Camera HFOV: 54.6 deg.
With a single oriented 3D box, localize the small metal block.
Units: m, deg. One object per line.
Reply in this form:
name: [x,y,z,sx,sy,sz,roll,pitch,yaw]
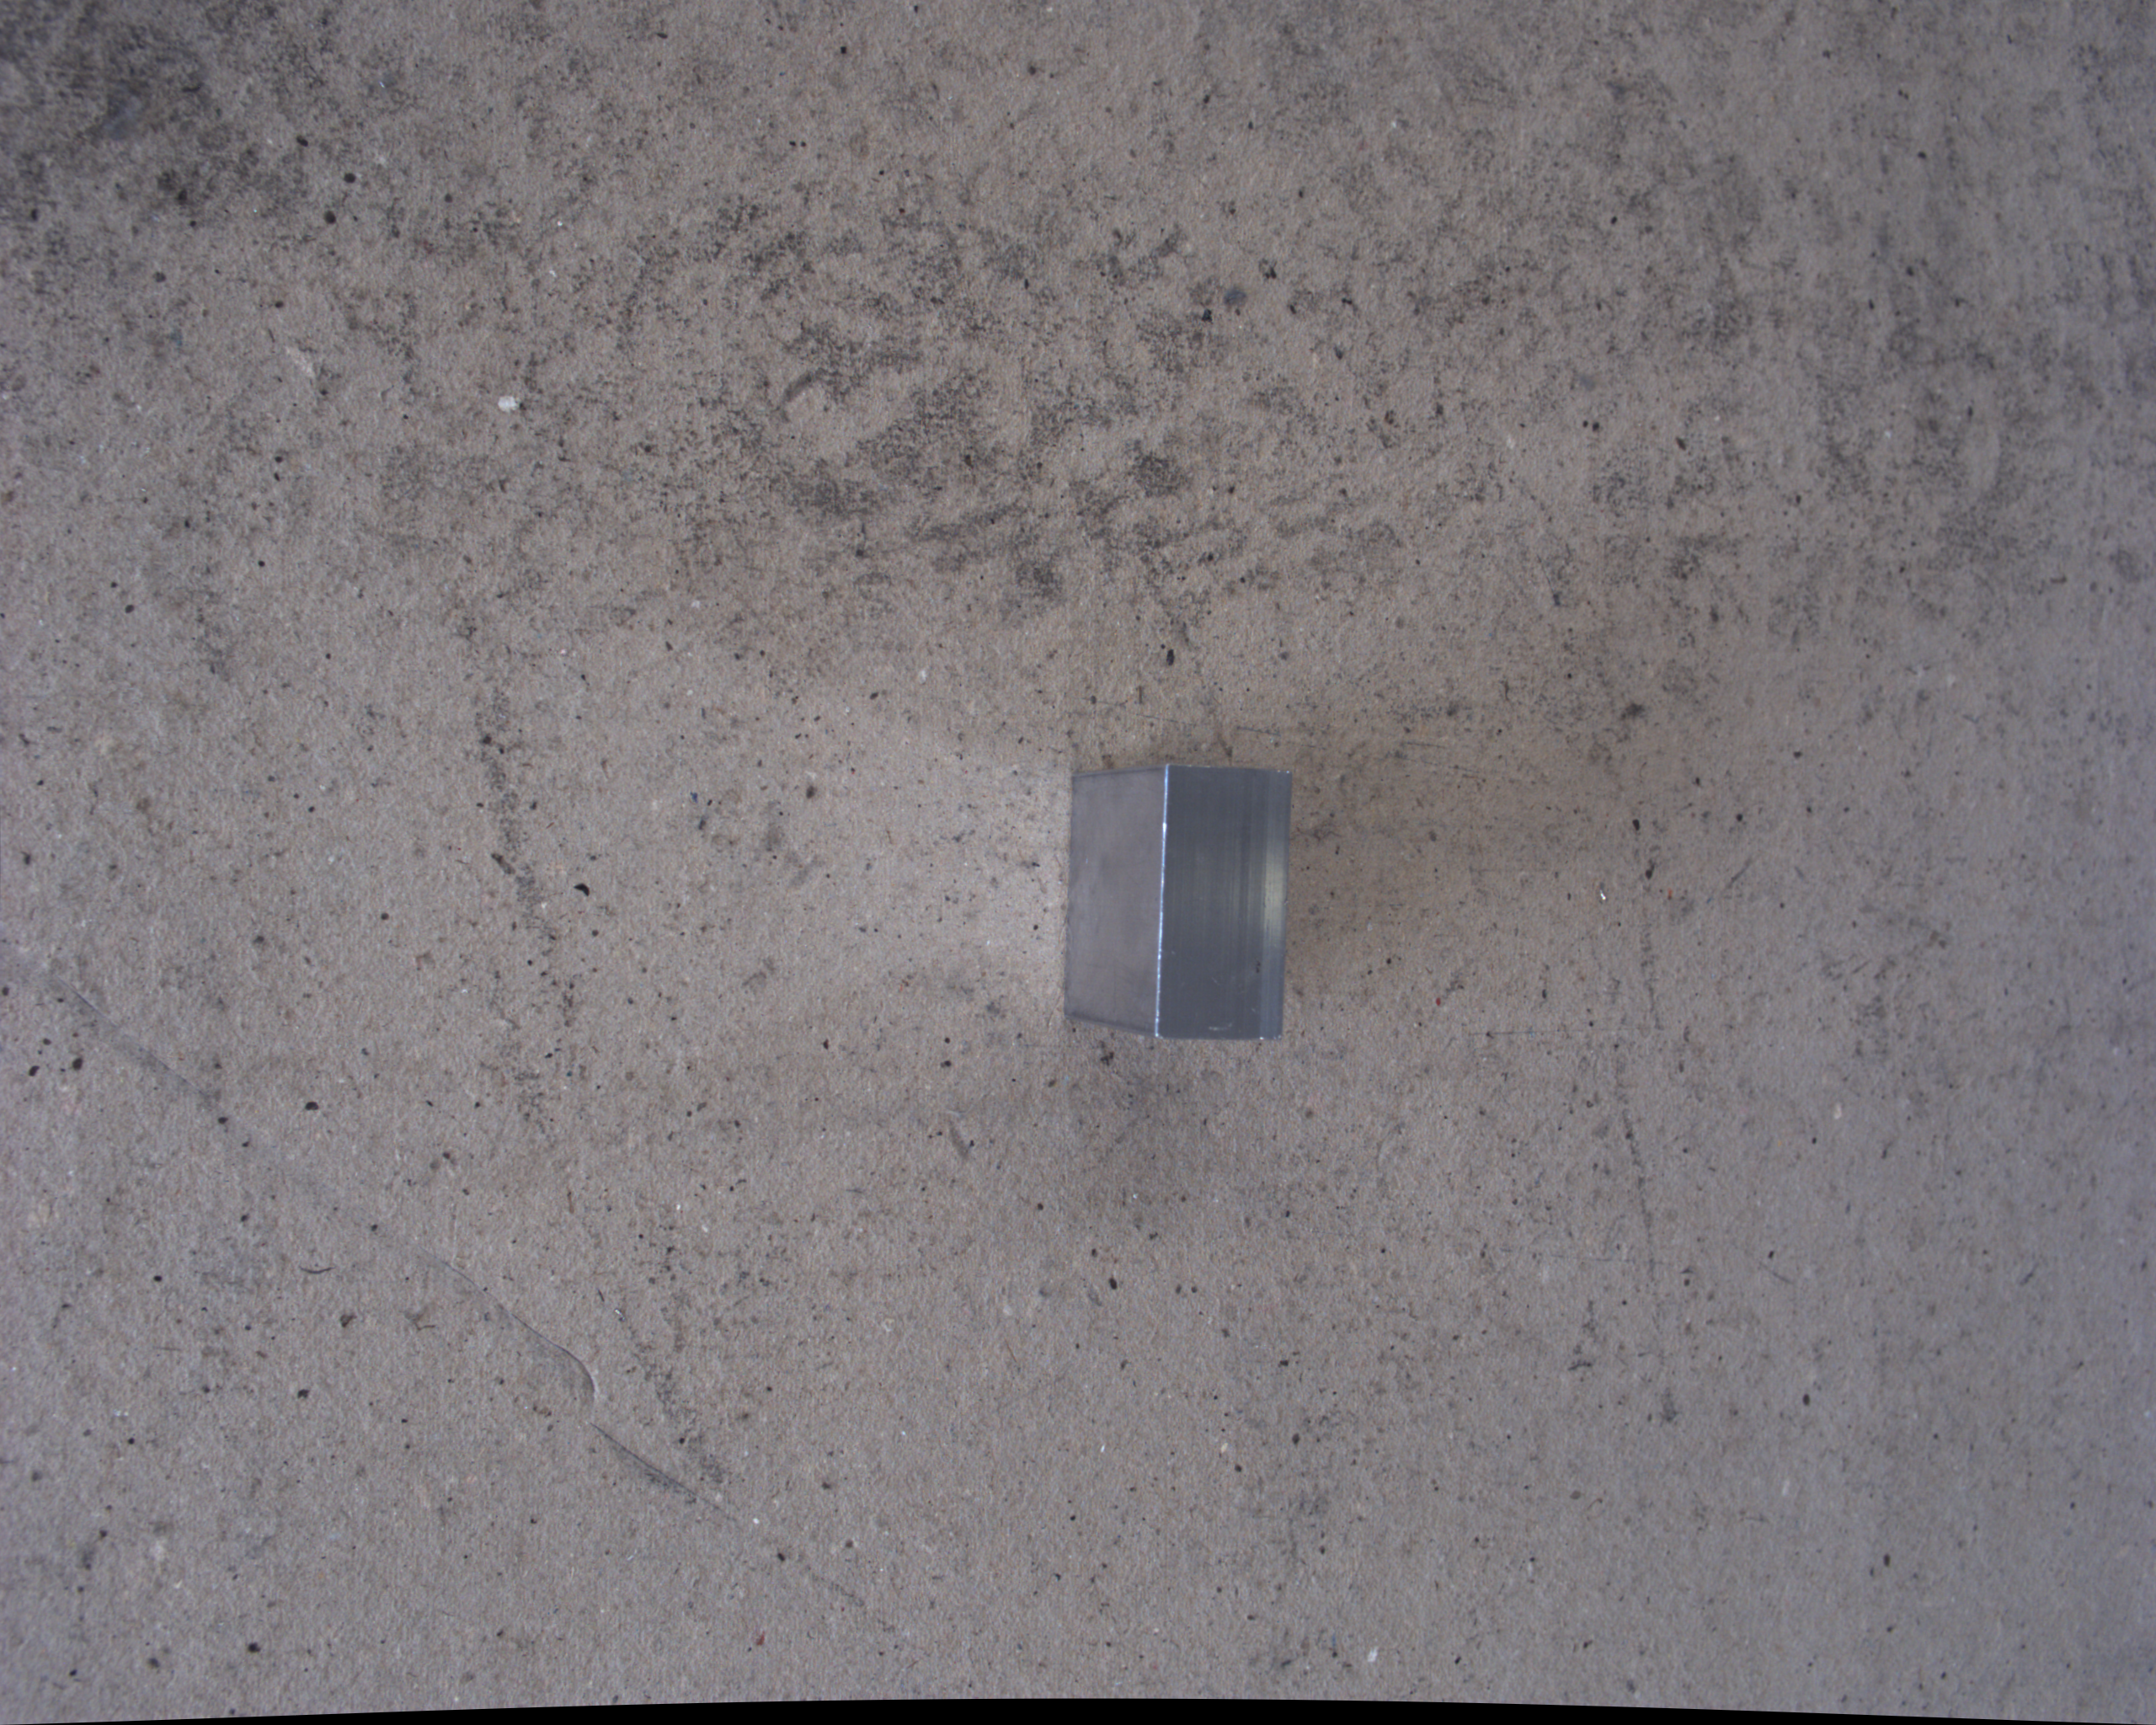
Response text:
small metal block: [0.017,0.007,0.403,0.025,0.050,0.050,2,90,-21]
